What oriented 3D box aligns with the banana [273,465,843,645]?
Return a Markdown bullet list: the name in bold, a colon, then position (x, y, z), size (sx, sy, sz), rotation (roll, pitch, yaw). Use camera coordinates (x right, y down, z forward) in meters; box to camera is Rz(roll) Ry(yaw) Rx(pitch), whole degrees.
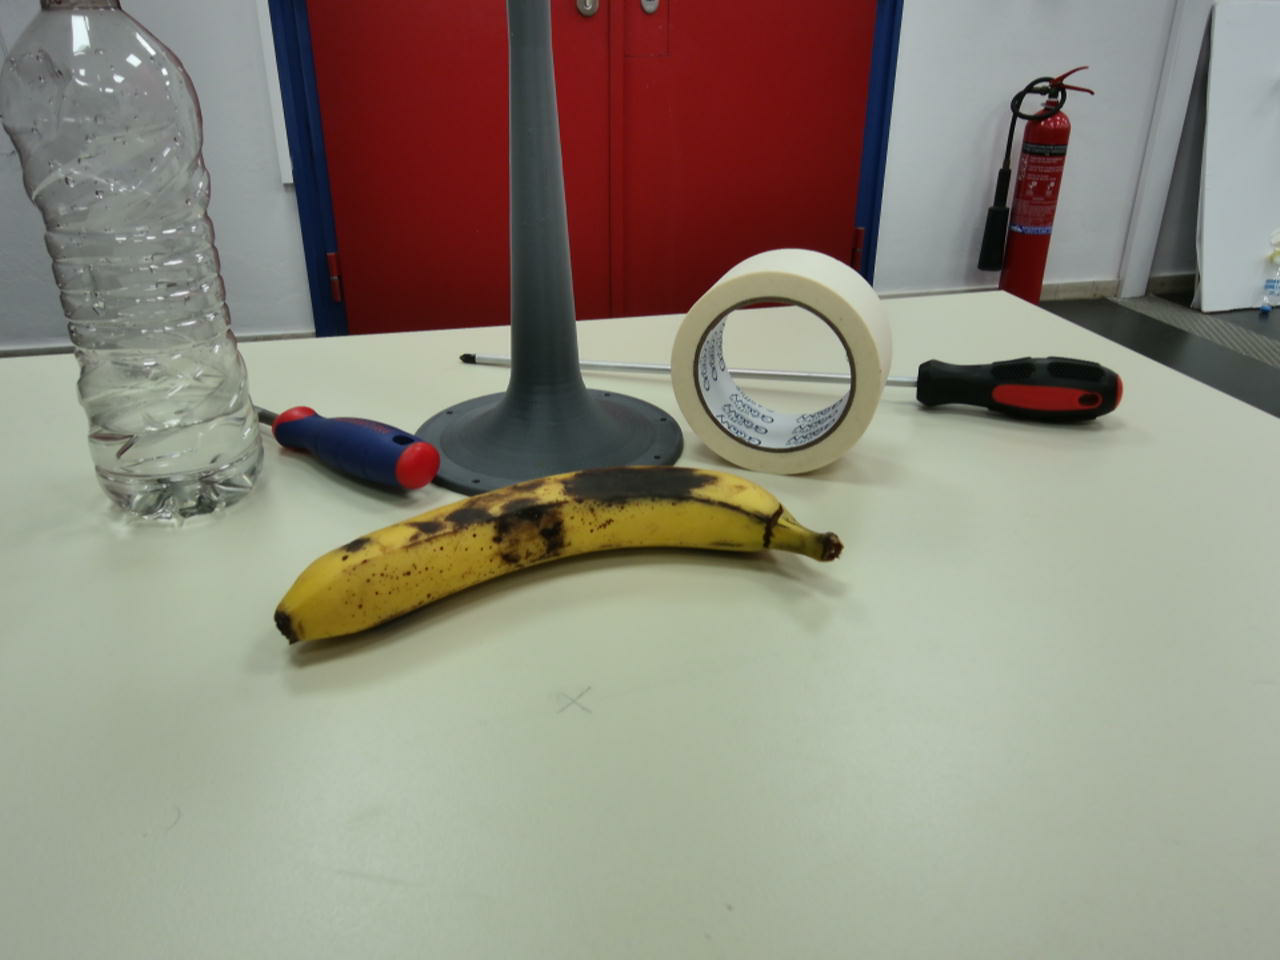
- **banana**: position (-0.034, 0.025, 0.418), size (0.222, 0.037, 0.084), rotation (-6, 25, -12)
